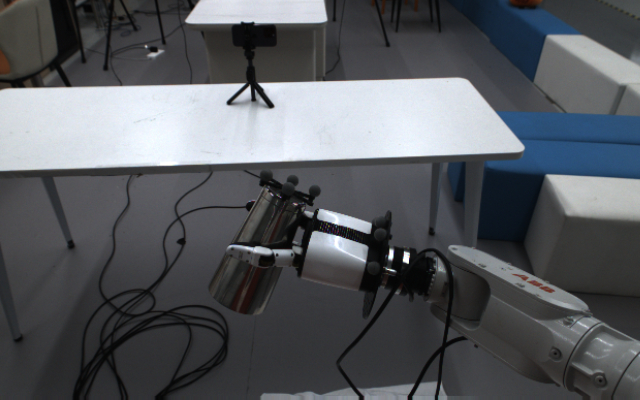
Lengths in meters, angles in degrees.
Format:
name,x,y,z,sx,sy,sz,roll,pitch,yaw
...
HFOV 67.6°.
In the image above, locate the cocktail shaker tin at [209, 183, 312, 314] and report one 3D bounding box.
name,x,y,z,sx,sy,sz,roll,pitch,yaw
cocktail shaker tin,-0.083,0.066,0.694,0.093,0.170,0.093,24,13,-6
